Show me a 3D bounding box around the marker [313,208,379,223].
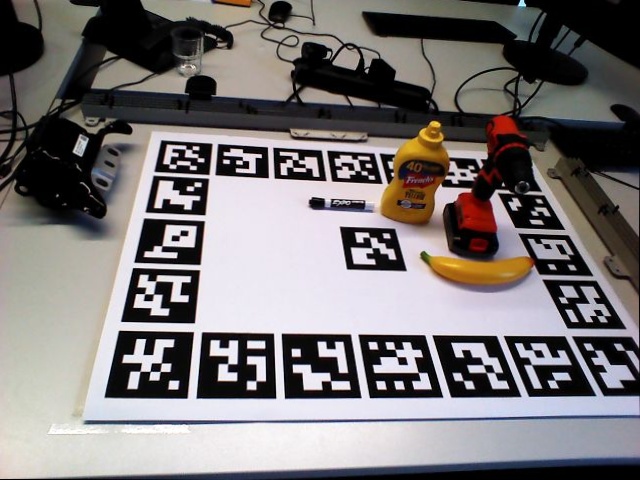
[{"bbox_3d":[0.048,-0.046,0.954,0.121,0.020,0.019,5,47,-6],"label":"marker"}]

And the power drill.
[{"bbox_3d":[0.296,-0.051,0.859,0.057,0.188,0.183,14,43,0],"label":"power drill"}]

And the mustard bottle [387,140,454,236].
[{"bbox_3d":[0.186,-0.092,0.902,0.096,0.192,0.058,12,45,-1],"label":"mustard bottle"}]

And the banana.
[{"bbox_3d":[0.277,0.078,0.866,0.198,0.039,0.074,8,47,0],"label":"banana"}]
